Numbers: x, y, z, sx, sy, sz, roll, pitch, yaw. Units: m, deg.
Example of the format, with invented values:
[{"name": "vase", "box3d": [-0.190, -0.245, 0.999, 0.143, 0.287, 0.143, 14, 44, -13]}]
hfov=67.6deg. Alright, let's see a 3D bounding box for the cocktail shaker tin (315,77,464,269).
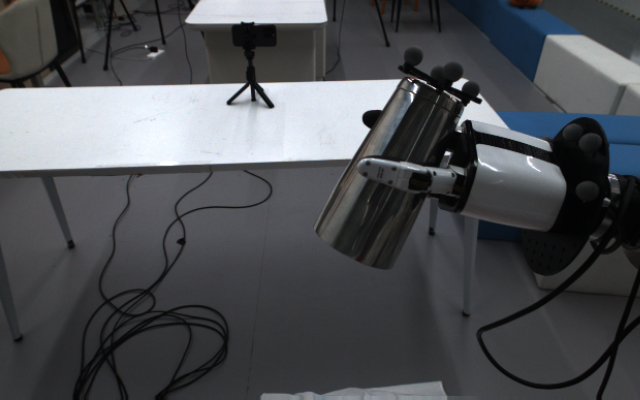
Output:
[{"name": "cocktail shaker tin", "box3d": [0.074, -0.029, 0.478, 0.093, 0.170, 0.093, 24, 12, -6]}]
